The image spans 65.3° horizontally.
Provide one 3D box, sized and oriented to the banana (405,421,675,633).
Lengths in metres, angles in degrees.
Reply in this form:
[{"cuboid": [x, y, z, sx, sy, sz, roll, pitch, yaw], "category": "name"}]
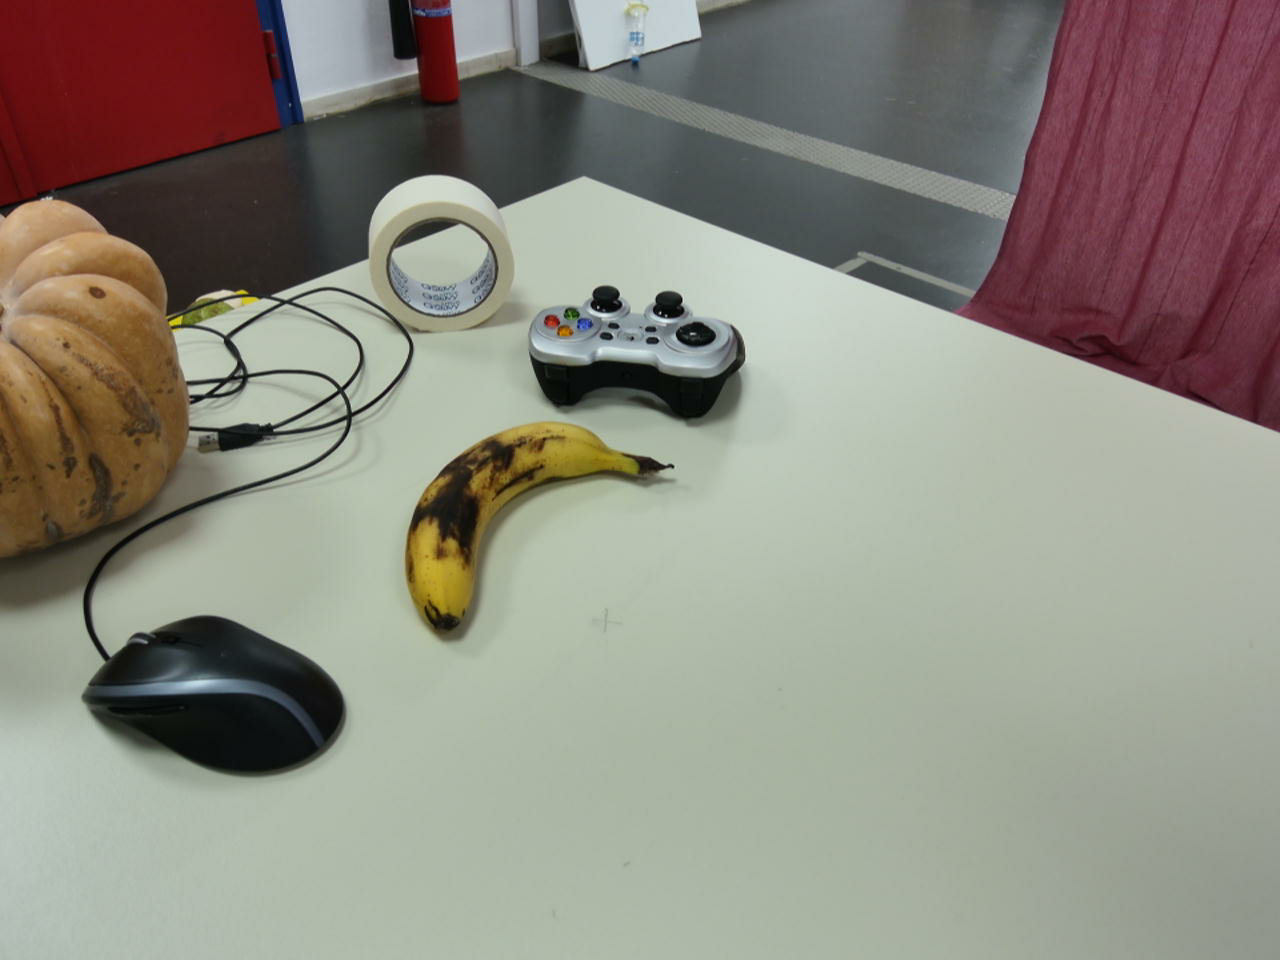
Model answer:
[{"cuboid": [-0.076, 0.012, 0.582, 0.094, 0.039, 0.187, 27, 44, 30], "category": "banana"}]
